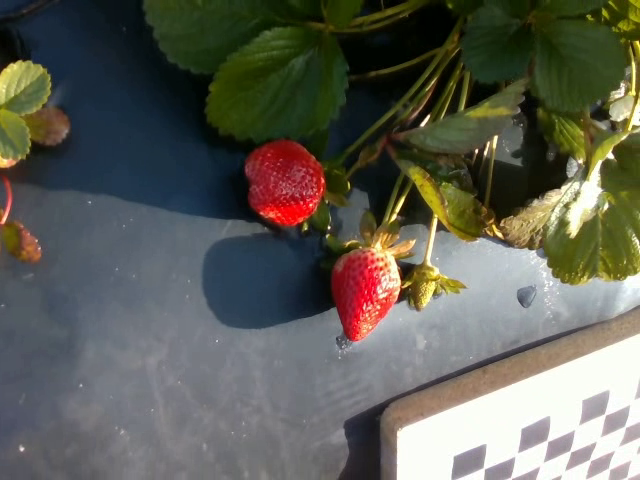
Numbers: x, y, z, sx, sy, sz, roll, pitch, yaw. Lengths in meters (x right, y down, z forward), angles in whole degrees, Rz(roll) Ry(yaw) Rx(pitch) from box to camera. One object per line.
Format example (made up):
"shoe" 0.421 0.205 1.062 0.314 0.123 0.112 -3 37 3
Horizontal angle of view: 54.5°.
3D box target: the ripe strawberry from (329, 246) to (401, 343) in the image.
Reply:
"ripe strawberry" 0.024 0.028 0.312 0.043 0.053 0.039 31 -31 -35

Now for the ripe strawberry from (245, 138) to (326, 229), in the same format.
"ripe strawberry" -0.018 -0.027 0.305 0.039 0.048 0.054 28 26 35
